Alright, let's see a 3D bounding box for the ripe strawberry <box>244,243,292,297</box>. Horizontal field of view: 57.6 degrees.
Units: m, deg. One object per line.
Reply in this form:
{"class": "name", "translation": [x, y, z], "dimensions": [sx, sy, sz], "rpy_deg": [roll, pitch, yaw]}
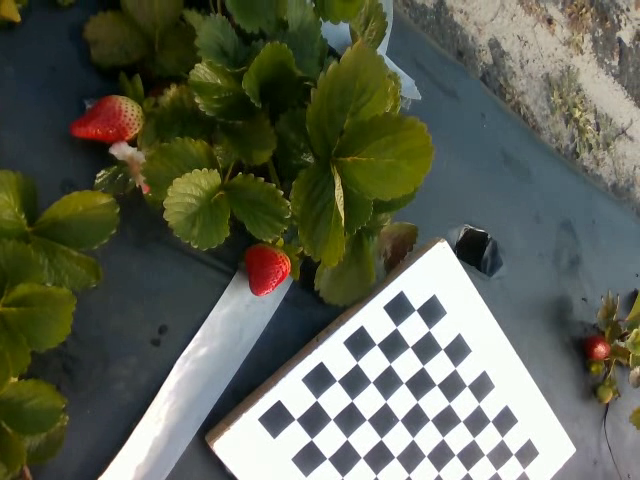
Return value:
{"class": "ripe strawberry", "translation": [-0.040, 0.027, 0.444], "dimensions": [0.035, 0.050, 0.055], "rpy_deg": [-4, 42, 52]}
